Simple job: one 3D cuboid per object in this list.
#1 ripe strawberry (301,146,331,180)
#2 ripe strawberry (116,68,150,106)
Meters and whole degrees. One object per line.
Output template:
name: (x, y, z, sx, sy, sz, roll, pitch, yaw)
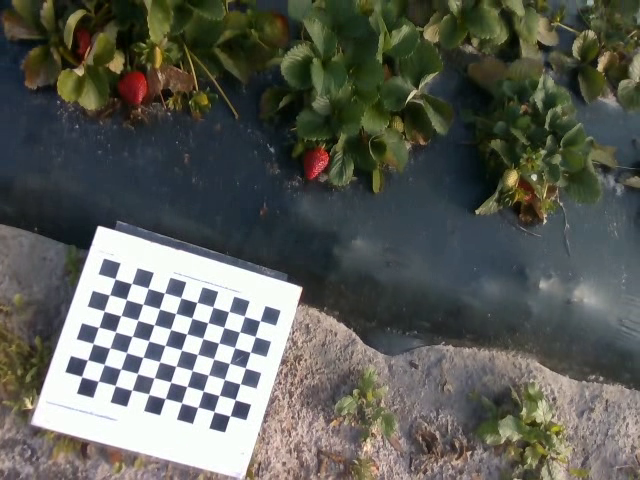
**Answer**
ripe strawberry: (-0.005, -0.071, 0.656, 0.029, 0.036, 0.021, 18, -17, -5)
ripe strawberry: (-0.166, -0.132, 0.621, 0.031, 0.030, 0.026, -21, -21, -14)
